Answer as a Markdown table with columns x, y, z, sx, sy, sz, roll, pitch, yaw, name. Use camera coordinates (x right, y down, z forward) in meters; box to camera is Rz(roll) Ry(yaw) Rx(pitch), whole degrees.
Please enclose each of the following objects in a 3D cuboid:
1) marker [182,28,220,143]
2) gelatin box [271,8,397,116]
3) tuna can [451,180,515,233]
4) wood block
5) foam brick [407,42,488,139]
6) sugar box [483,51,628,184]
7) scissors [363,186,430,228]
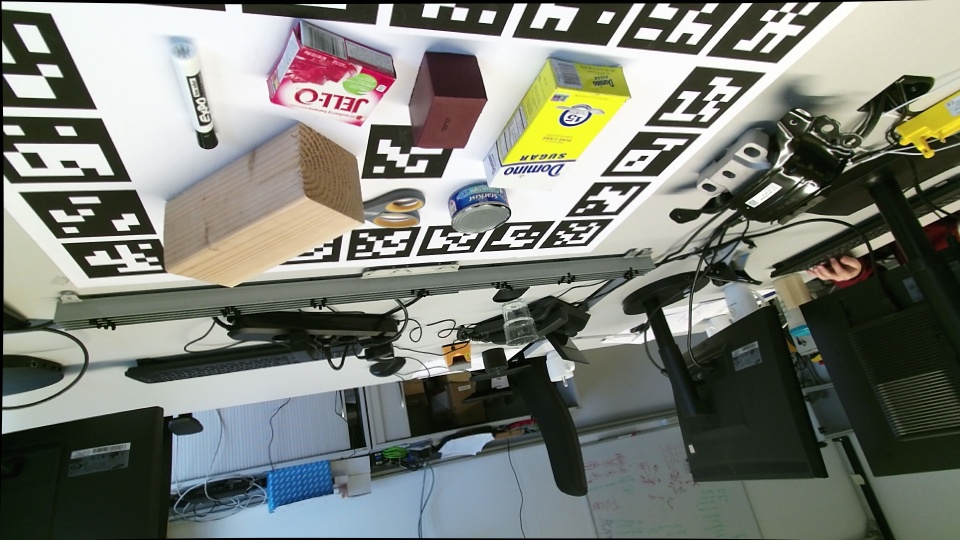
| x | y | z | sx | sy | sz | roll | pitch | yaw | name |
| --- | --- | --- | --- | --- | --- | --- | --- | --- | --- |
| -0.245 | -0.157 | 0.474 | 0.020 | 0.019 | 0.121 | -5 | 152 | -23 | marker |
| -0.131 | -0.181 | 0.480 | 0.090 | 0.030 | 0.073 | 5 | 149 | -39 | gelatin box |
| 0.004 | -0.089 | 0.753 | 0.086 | 0.033 | 0.086 | -13 | 156 | -6 | tuna can |
| -0.243 | -0.071 | 0.589 | 0.207 | 0.090 | 0.090 | -24 | 156 | 20 | wood block |
| -0.034 | -0.172 | 0.521 | 0.053 | 0.051 | 0.078 | -5 | 153 | -24 | foam brick |
| 0.079 | -0.168 | 0.621 | 0.093 | 0.045 | 0.176 | -2 | 153 | -26 | sugar box |
| -0.162 | -0.081 | 0.699 | 0.203 | 0.016 | 0.088 | -3 | 154 | -30 | scissors |
